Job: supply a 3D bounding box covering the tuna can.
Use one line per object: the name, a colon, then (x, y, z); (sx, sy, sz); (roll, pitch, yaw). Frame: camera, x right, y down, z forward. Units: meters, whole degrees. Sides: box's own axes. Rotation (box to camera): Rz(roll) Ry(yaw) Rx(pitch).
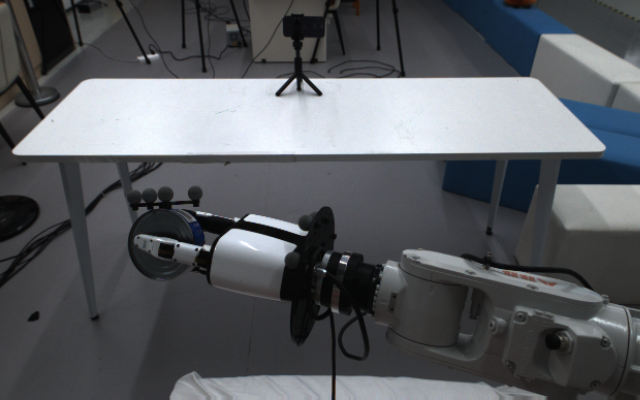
tuna can: (-0.179, 0.054, 0.585); (0.085, 0.085, 0.034); (10, 2, 11)
